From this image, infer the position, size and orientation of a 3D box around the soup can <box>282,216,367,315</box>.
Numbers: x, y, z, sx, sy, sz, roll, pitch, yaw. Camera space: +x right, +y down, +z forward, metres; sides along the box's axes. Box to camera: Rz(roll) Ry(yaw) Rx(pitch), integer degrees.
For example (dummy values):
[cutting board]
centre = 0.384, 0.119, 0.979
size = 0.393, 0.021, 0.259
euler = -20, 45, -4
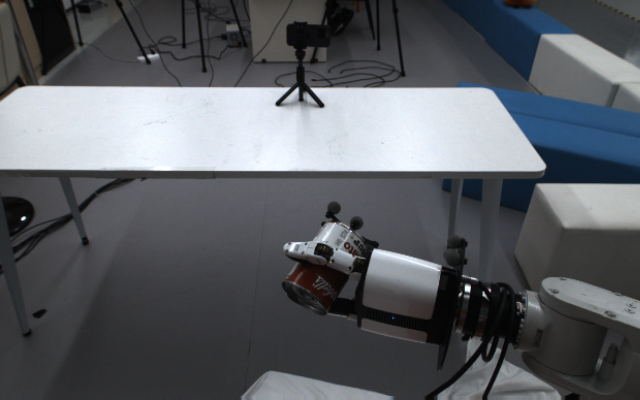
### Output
[soup can]
centre = 0.009, 0.084, 0.611
size = 0.067, 0.067, 0.101
euler = 22, 60, 26
